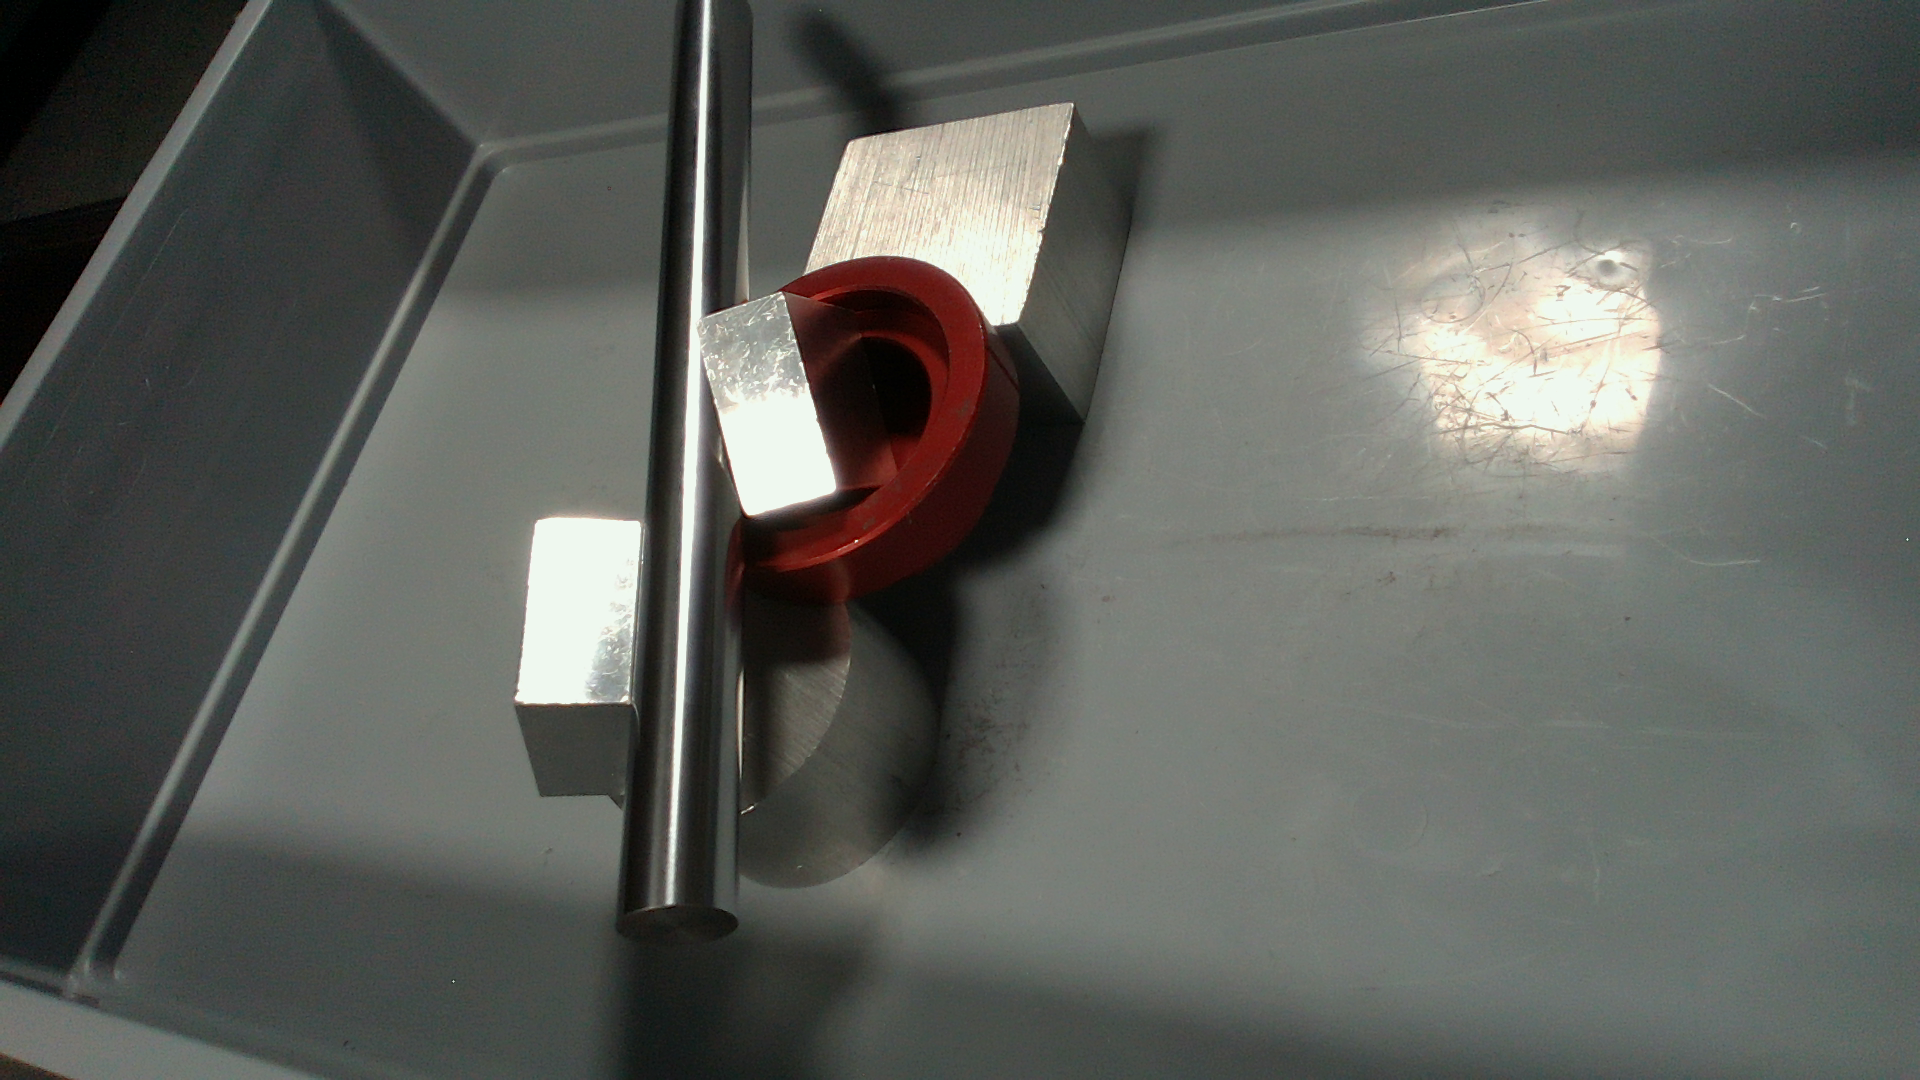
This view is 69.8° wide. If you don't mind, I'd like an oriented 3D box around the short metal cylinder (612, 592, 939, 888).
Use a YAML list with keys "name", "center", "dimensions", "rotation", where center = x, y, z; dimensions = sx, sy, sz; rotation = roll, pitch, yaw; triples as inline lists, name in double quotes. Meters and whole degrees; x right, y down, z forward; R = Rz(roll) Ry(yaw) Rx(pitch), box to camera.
- name: "short metal cylinder"
  center: [-0.053, 0.048, 0.376]
  dimensions: [0.080, 0.050, 0.080]
  rotation: [-14, 56, 21]

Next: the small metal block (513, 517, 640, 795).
- name: "small metal block"
  center: [-0.091, 0.030, 0.340]
  dimensions: [0.025, 0.050, 0.050]
  rotation: [1, 55, -9]

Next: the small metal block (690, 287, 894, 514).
- name: "small metal block"
  center: [-0.041, -0.035, 0.358]
  dimensions: [0.025, 0.050, 0.050]
  rotation: [-15, 90, 16]

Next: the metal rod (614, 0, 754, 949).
- name: "metal rod"
  center: [-0.069, -0.044, 0.367]
  dimensions: [0.025, 0.025, 0.300]
  rotation: [-18, 54, 18]

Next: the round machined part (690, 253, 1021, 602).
- name: "round machined part"
  center: [-0.028, -0.027, 0.375]
  dimensions: [0.098, 0.042, 0.098]
  rotation: [-13, 56, 21]

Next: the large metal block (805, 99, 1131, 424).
- name: "large metal block"
  center: [0.000, -0.082, 0.425]
  dimensions: [0.080, 0.050, 0.080]
  rotation: [0, 61, 28]
